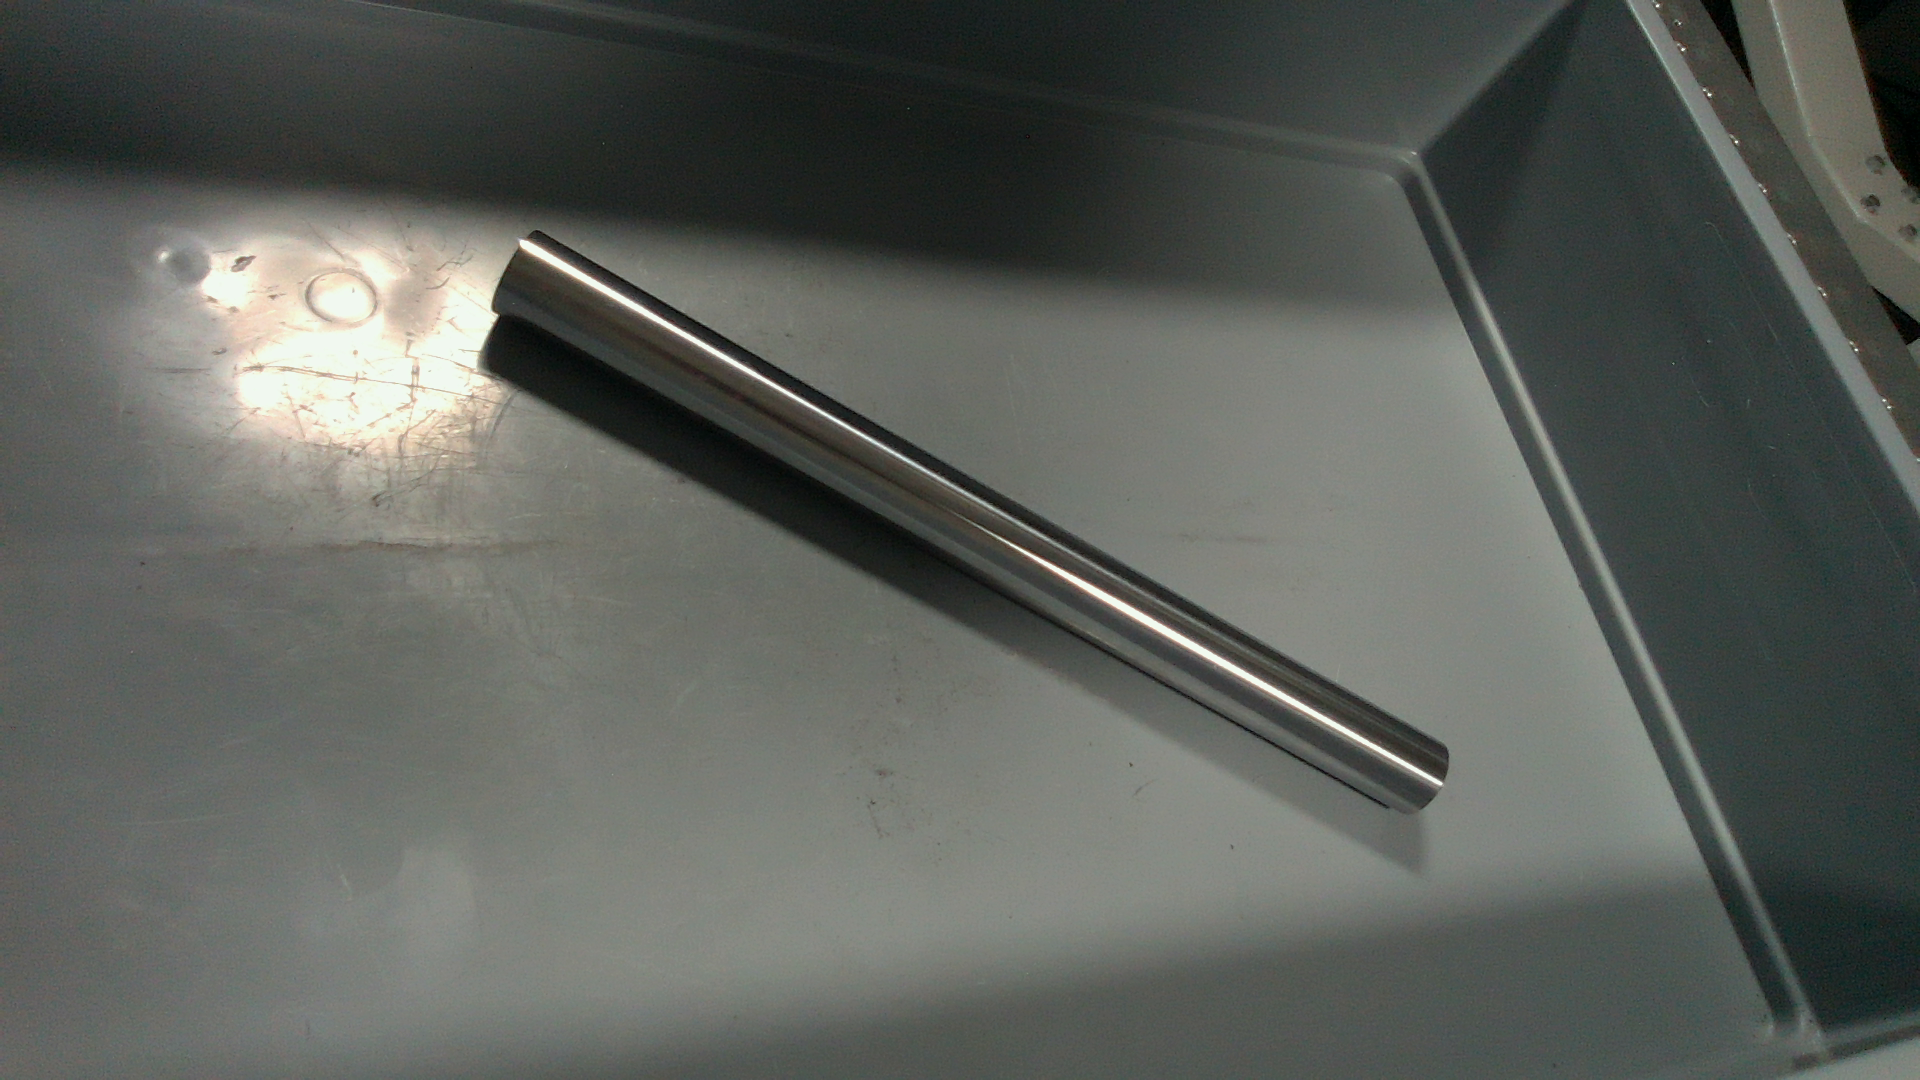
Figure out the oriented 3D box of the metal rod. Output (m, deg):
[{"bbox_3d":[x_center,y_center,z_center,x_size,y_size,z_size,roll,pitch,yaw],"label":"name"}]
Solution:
[{"bbox_3d":[0.011,0.000,0.393,0.300,0.025,0.025,29,52,-10],"label":"metal rod"}]
